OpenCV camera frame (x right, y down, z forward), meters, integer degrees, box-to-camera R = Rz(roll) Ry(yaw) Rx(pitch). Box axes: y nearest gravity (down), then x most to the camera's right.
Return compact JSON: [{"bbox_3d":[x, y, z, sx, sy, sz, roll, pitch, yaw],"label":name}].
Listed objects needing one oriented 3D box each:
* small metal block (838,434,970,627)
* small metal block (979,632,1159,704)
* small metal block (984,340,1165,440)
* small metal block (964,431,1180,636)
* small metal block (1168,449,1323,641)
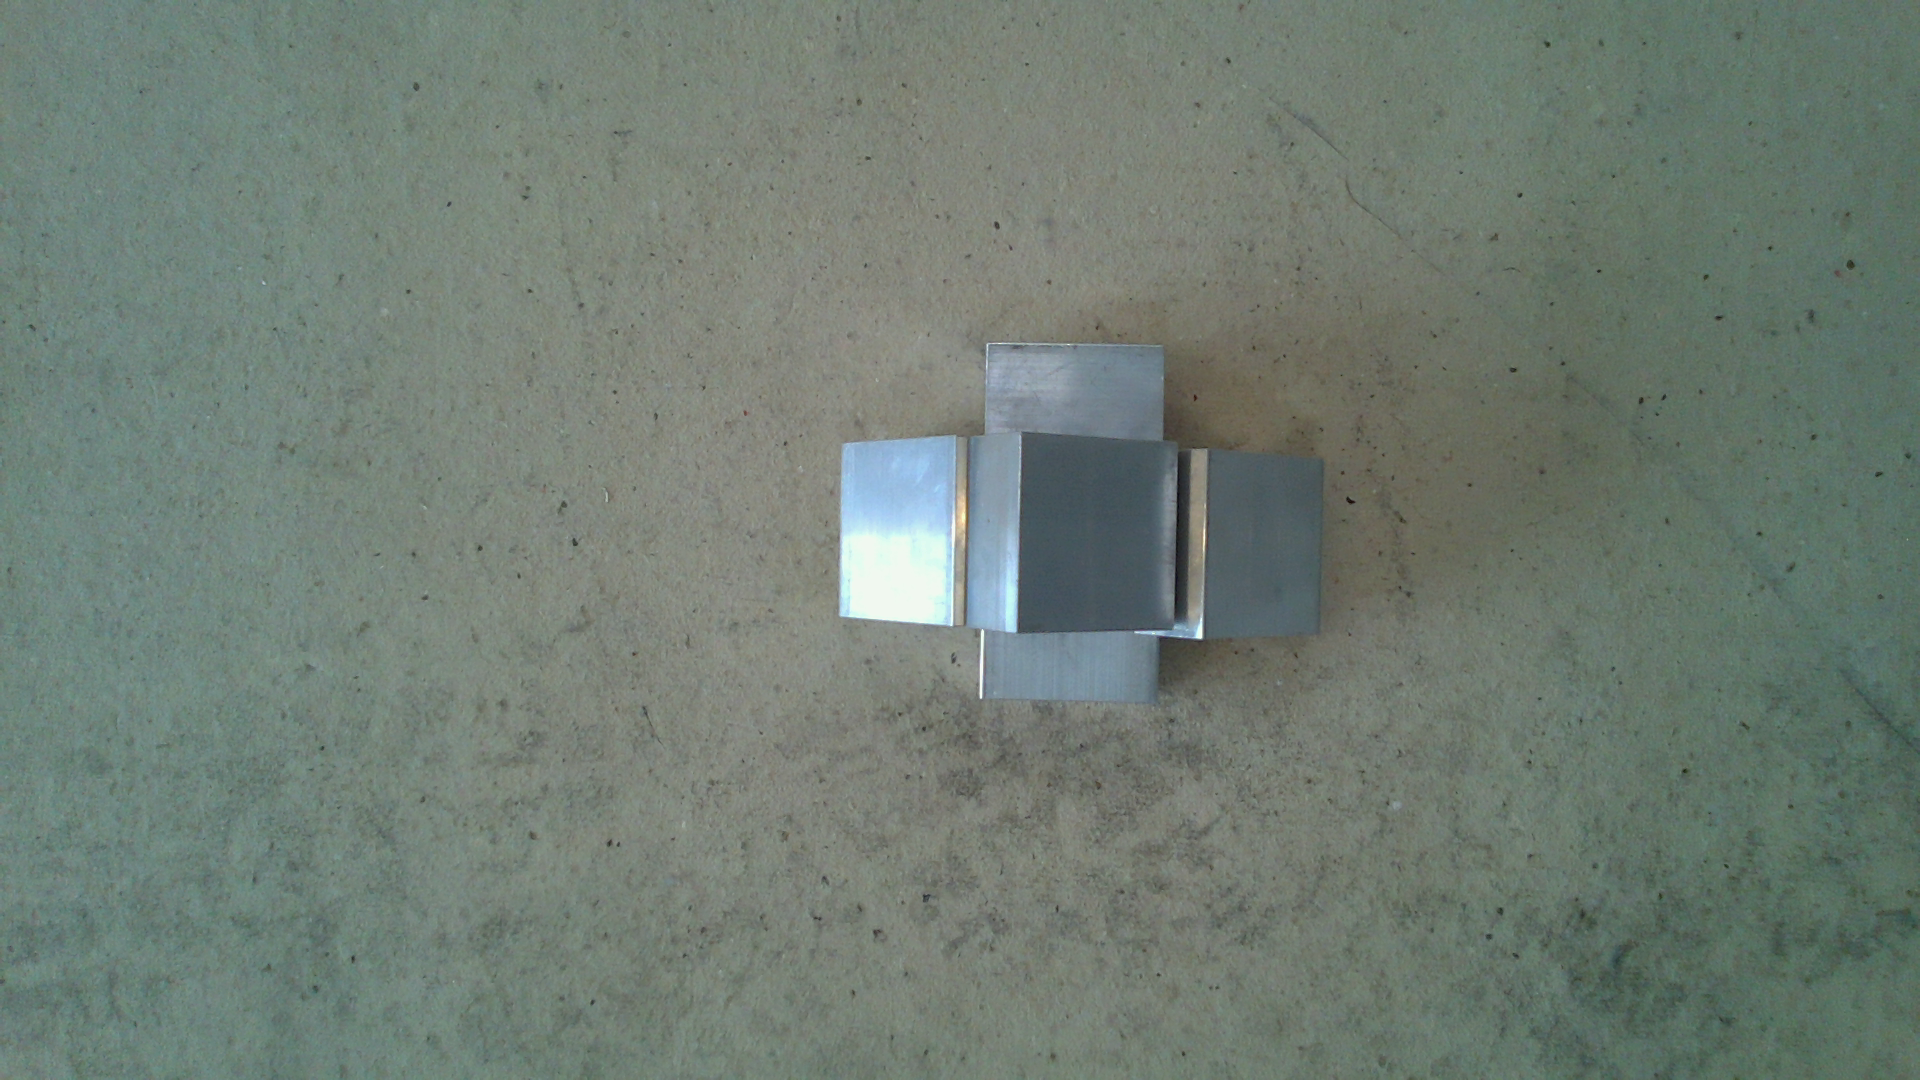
[{"bbox_3d":[-0.009,-0.003,0.382,0.025,0.050,0.050,0,91,-42],"label":"small metal block"},{"bbox_3d":[0.031,0.020,0.396,0.050,0.025,0.050,1,90,0],"label":"small metal block"},{"bbox_3d":[0.032,-0.030,0.396,0.050,0.025,0.050,1,90,0],"label":"small metal block"},{"bbox_3d":[0.029,-0.001,0.359,0.050,0.025,0.050,1,90,-31],"label":"small metal block"},{"bbox_3d":[0.075,0.001,0.384,0.050,0.025,0.050,1,91,-40],"label":"small metal block"}]
